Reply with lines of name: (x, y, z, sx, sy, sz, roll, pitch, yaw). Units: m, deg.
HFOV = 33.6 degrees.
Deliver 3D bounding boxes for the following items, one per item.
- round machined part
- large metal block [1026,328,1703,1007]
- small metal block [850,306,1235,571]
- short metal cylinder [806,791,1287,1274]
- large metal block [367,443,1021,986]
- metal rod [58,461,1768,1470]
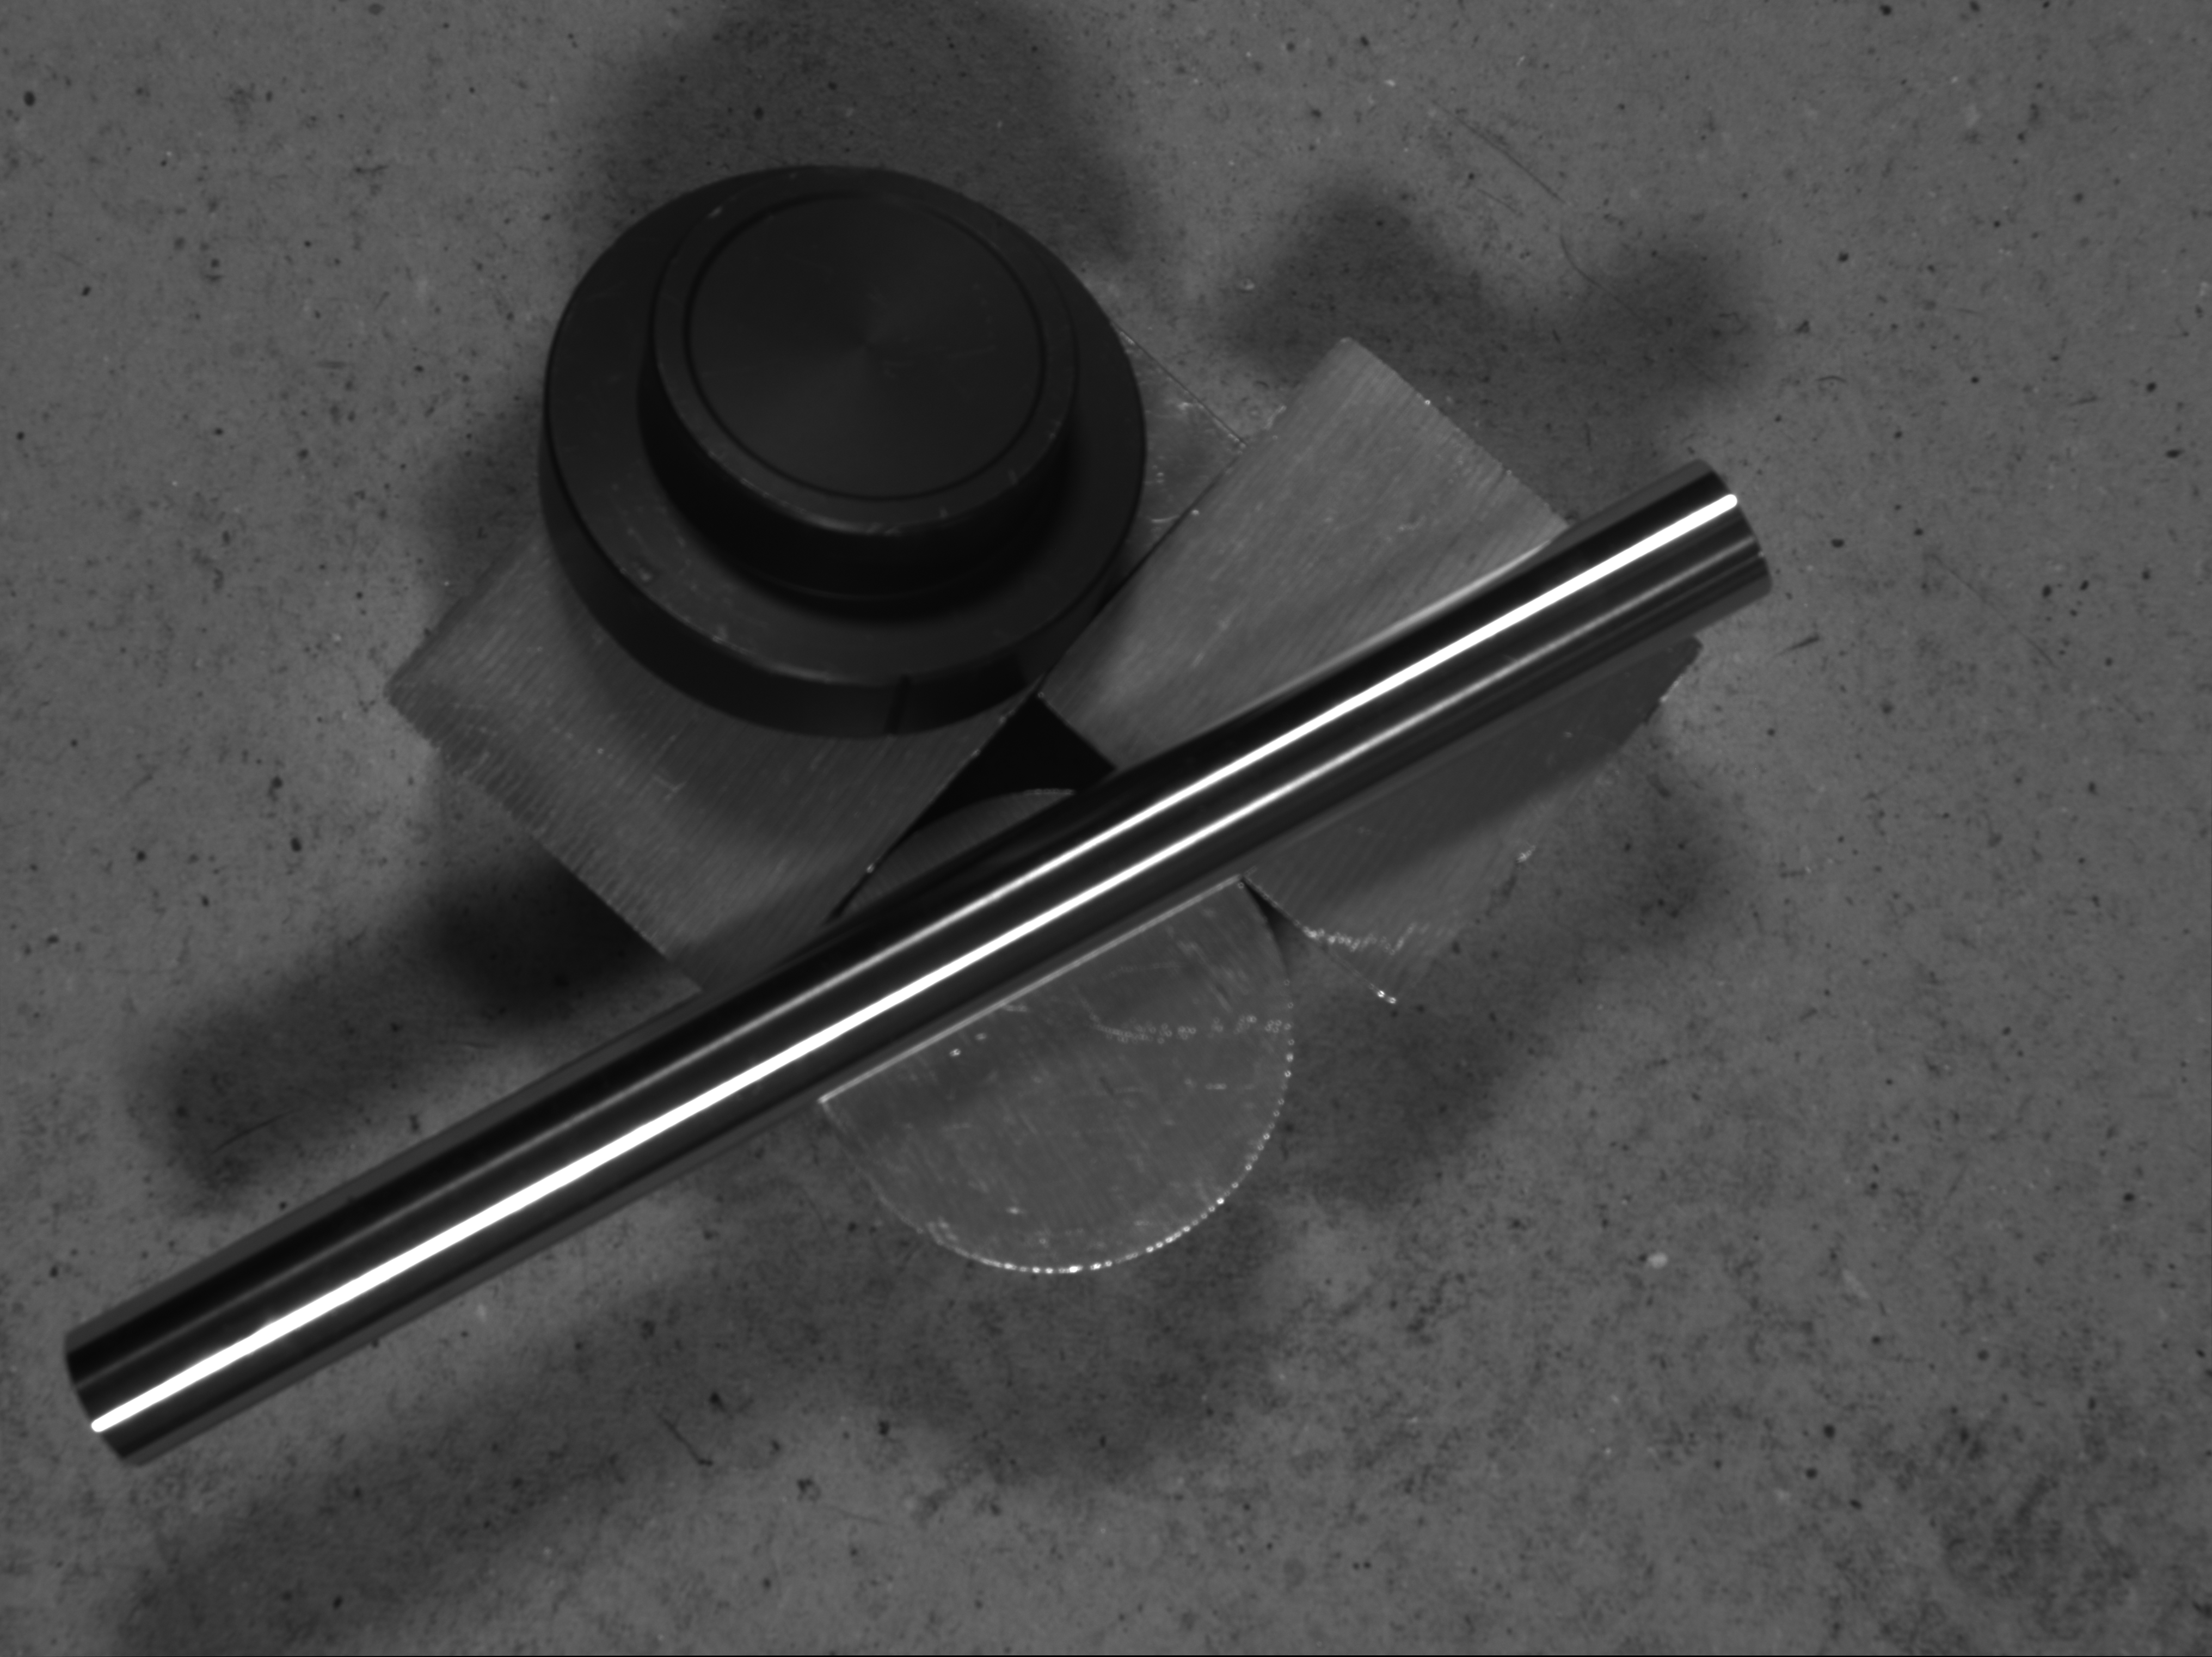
round machined part: (-0.042, -0.067, 0.592, 0.098, 0.042, 0.098, 5, 63, -10)
large metal block: (0.043, -0.027, 0.633, 0.080, 0.050, 0.080, 41, 90, 0)
small metal block: (-0.011, -0.065, 0.644, 0.050, 0.025, 0.050, 43, 90, 0)
short metal cylinder: (-0.010, 0.034, 0.632, 0.080, 0.050, 0.080, 0, 90, 0)
large metal block: (-0.066, -0.025, 0.631, 0.080, 0.050, 0.080, 42, 90, 0)
metal rod: (-0.031, 0.022, 0.595, 0.300, 0.025, 0.025, -28, 90, 0)
